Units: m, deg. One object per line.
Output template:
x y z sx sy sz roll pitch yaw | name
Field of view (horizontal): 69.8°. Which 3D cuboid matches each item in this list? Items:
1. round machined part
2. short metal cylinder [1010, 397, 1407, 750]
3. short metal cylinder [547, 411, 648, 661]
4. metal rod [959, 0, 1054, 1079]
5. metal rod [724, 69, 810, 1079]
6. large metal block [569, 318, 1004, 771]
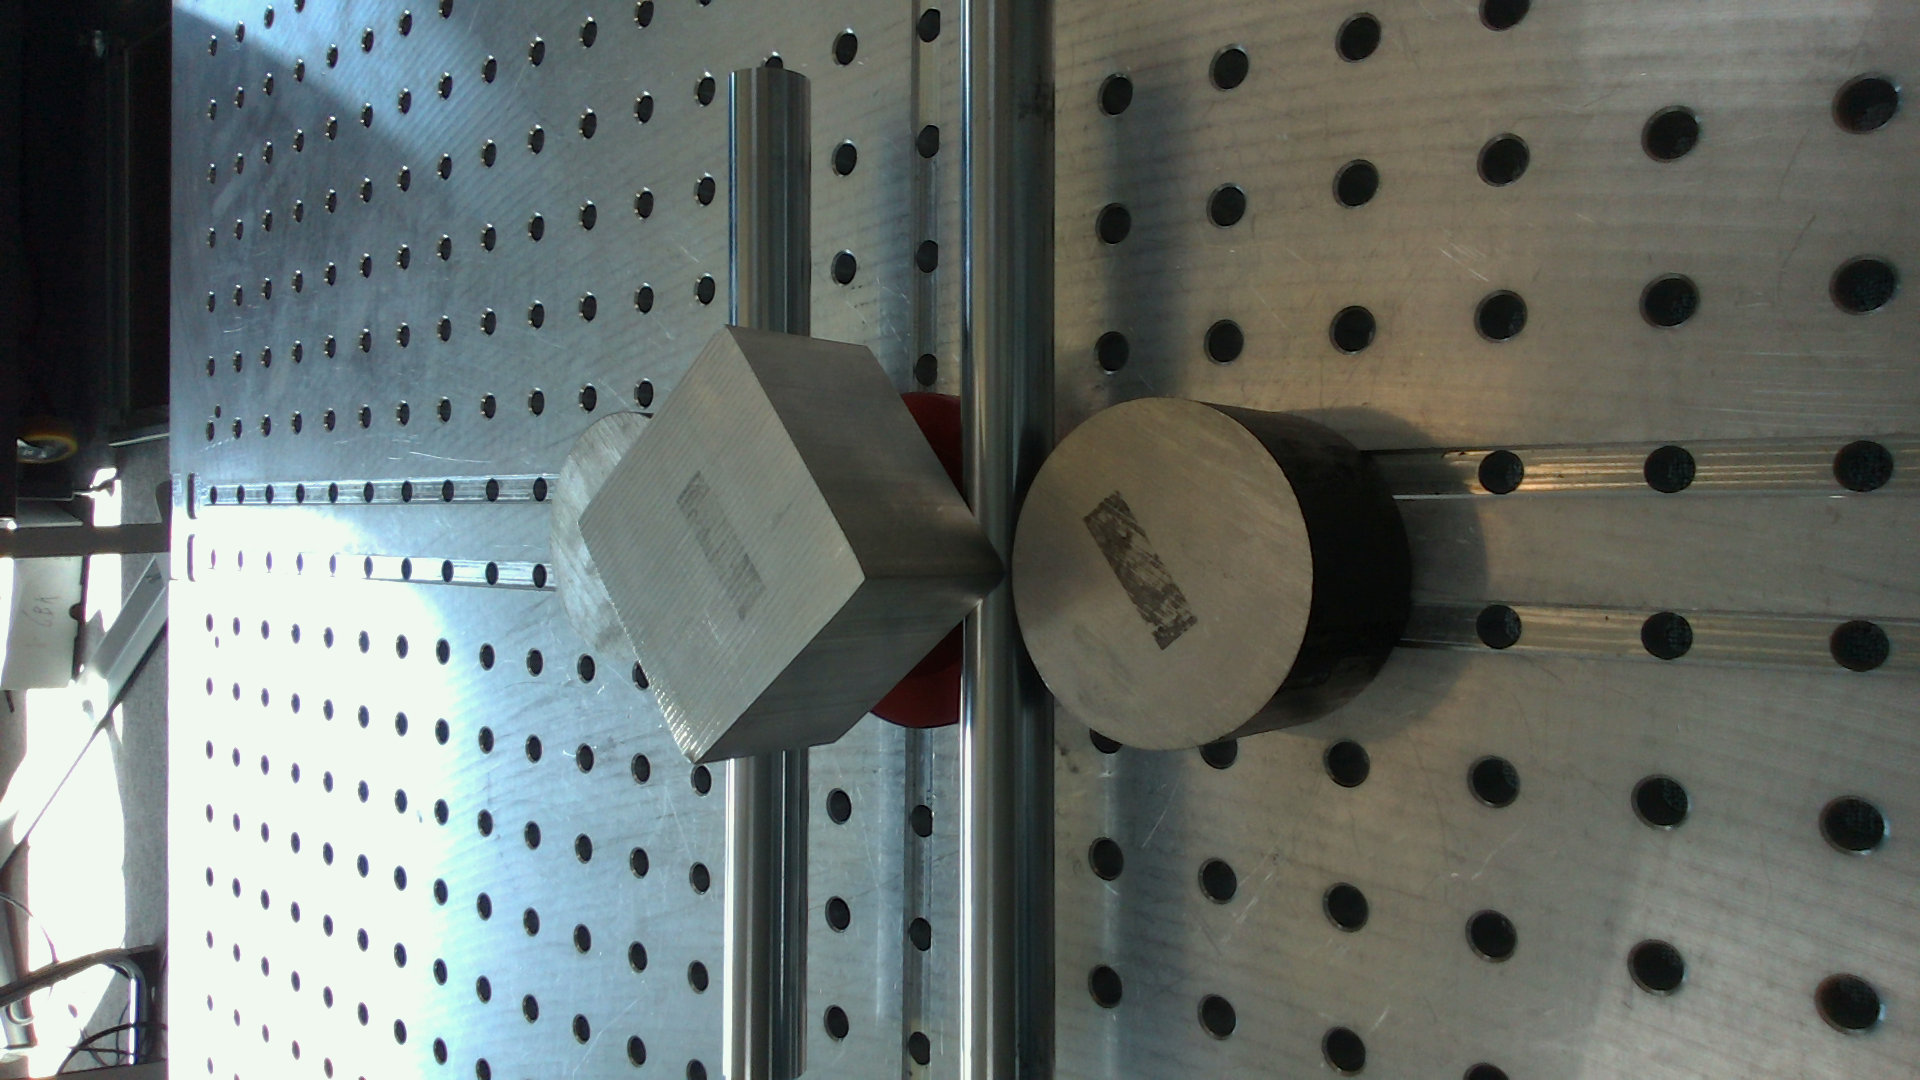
-0.015 0.005 0.400 0.098 0.042 0.098 0 90 40 | round machined part
0.059 0.008 0.331 0.080 0.050 0.080 0 90 40 | short metal cylinder
-0.093 -0.001 0.460 0.080 0.050 0.080 0 90 40 | short metal cylinder
0.012 0.009 0.360 0.025 0.025 0.300 0 90 40 | metal rod
-0.059 0.011 0.420 0.025 0.025 0.300 0 90 40 | metal rod
-0.048 0.002 0.360 0.080 0.050 0.080 -46 62 30 | large metal block
